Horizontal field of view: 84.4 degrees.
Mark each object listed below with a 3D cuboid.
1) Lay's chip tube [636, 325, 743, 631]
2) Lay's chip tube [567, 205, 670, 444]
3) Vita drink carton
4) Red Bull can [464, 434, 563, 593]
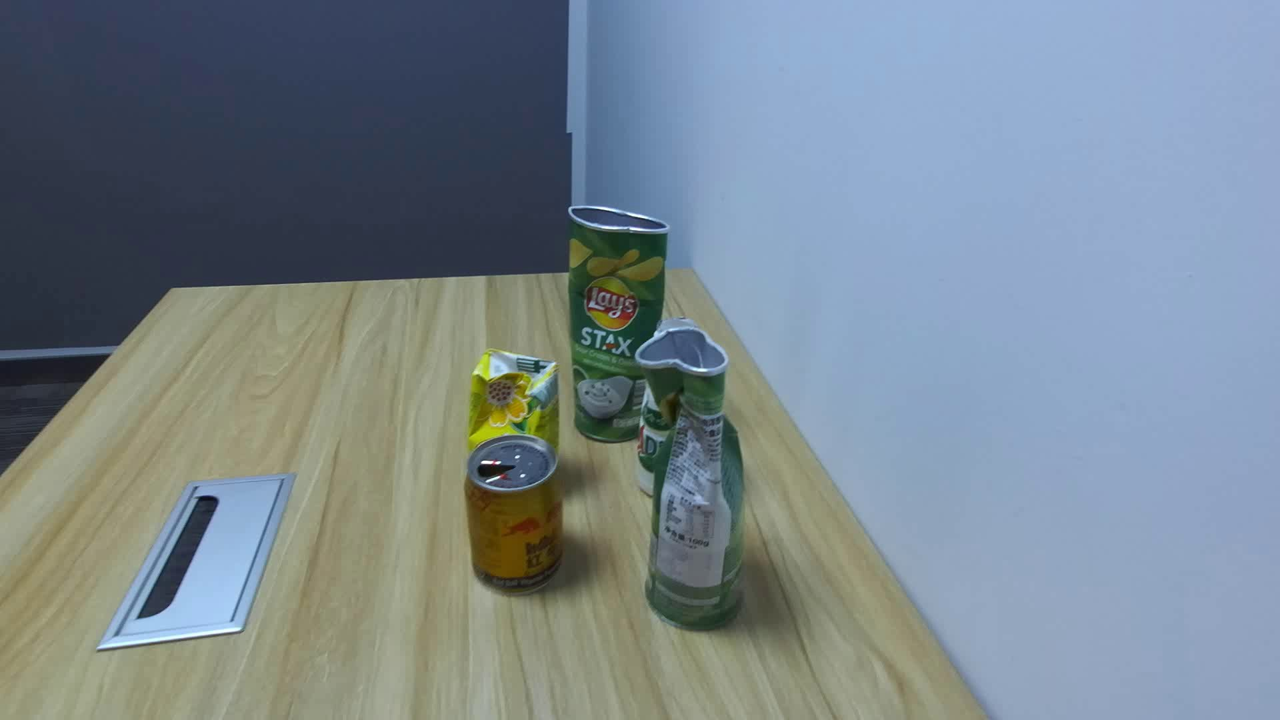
[{"bbox_3d":[0.032,0.075,0.448,0.071,0.199,0.079,7,29,22],"label":"Lay's chip tube"},{"bbox_3d":[-0.022,-0.028,0.617,0.075,0.199,0.068,-3,29,-11],"label":"Lay's chip tube"},{"bbox_3d":[-0.102,0.053,0.567,0.071,0.110,0.046,11,30,15],"label":"Vita drink carton"},{"bbox_3d":[-0.087,0.107,0.493,0.067,0.093,0.067,2,30,-1],"label":"Red Bull can"}]
